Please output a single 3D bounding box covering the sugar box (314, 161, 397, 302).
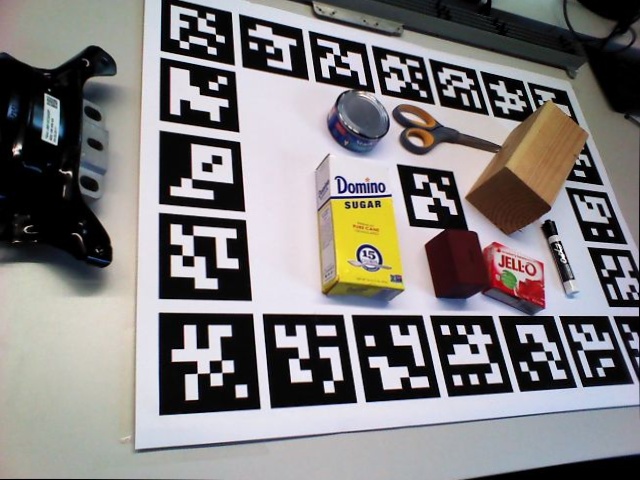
[{"bbox_3d":[0.043,-0.012,0.661,0.093,0.045,0.175,9,63,-21],"label":"sugar box"}]

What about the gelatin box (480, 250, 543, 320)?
[{"bbox_3d":[0.272,0.063,0.734,0.089,0.030,0.073,22,60,-13],"label":"gelatin box"}]

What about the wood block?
[{"bbox_3d":[0.331,-0.102,0.806,0.090,0.091,0.205,43,56,1],"label":"wood block"}]

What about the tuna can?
[{"bbox_3d":[0.050,-0.163,0.737,0.085,0.034,0.085,9,64,-20],"label":"tuna can"}]

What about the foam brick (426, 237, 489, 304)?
[{"bbox_3d":[0.181,0.042,0.686,0.052,0.052,0.077,6,65,-21],"label":"foam brick"}]

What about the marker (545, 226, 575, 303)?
[{"bbox_3d":[0.367,0.036,0.793,0.019,0.020,0.120,6,67,-22],"label":"marker"}]

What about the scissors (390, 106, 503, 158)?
[{"bbox_3d":[0.205,-0.154,0.816,0.202,0.016,0.087,11,63,-17],"label":"scissors"}]
